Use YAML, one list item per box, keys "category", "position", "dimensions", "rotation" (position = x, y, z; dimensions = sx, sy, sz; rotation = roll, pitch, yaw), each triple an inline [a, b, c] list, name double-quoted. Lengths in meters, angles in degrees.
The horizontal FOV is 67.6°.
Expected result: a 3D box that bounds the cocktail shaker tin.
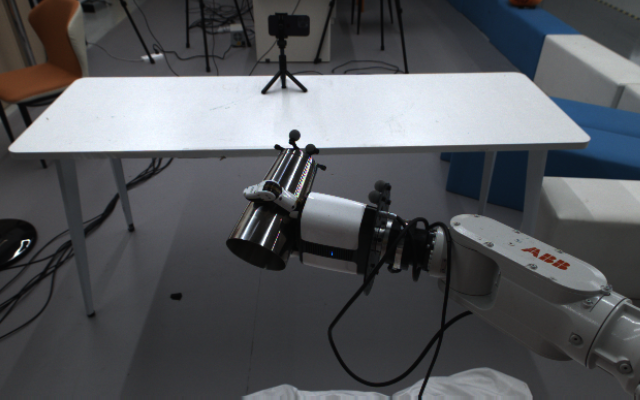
- category: "cocktail shaker tin"
  position: [-0.062, 0.010, 0.718]
  dimensions: [0.093, 0.093, 0.170]
  rotation: [14, 61, 16]
